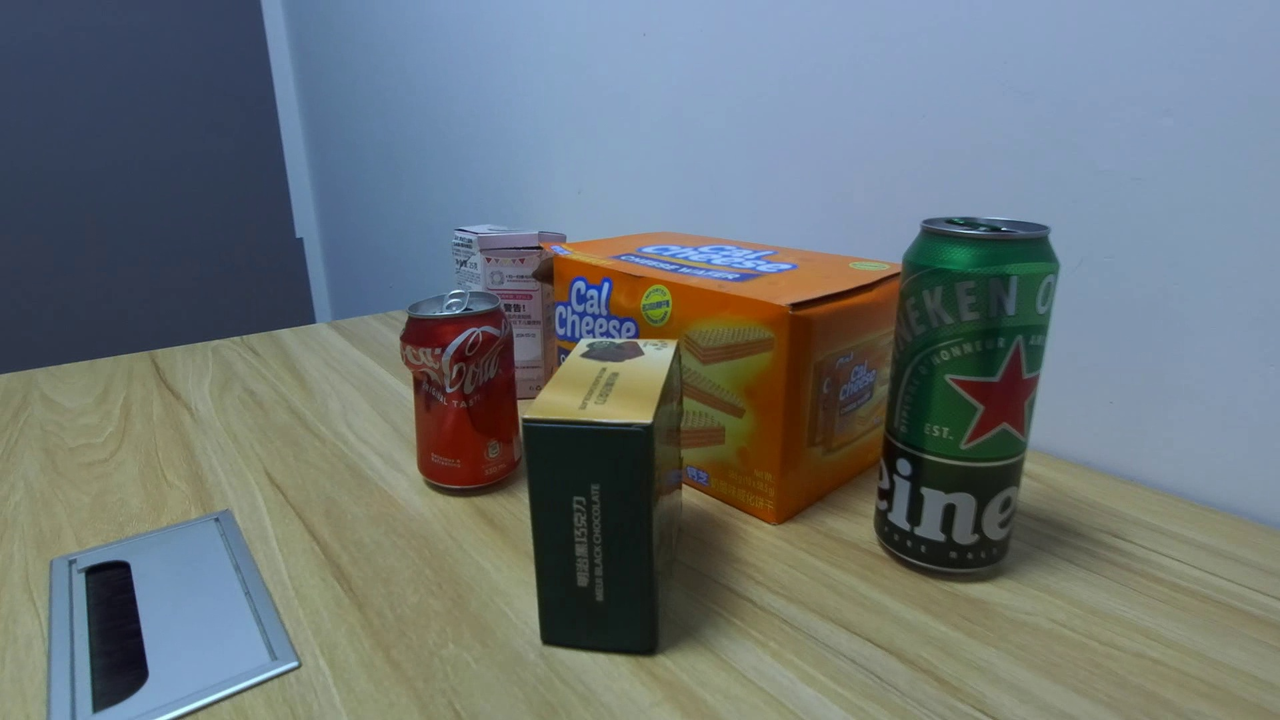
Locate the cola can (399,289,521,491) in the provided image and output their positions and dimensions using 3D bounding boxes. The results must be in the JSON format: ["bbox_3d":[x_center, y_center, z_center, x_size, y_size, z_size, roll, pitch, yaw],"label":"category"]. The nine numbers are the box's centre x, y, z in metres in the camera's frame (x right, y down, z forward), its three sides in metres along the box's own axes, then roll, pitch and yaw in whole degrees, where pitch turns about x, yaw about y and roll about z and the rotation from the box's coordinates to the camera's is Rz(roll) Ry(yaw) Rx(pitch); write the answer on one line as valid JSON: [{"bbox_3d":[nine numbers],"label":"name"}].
[{"bbox_3d":[-0.111,0.017,0.442,0.066,0.117,0.066,15,25,35],"label":"cola can"}]

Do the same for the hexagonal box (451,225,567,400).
[{"bbox_3d":[-0.103,-0.044,0.590,0.092,0.135,0.085,-2,18,-2],"label":"hexagonal box"}]

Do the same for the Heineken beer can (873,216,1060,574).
[{"bbox_3d":[0.157,0.019,0.347,0.067,0.169,0.067,0,17,0],"label":"Heineken beer can"}]

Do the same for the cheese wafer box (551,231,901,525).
[{"bbox_3d":[0.050,-0.010,0.490,0.150,0.137,0.226,-17,25,-41],"label":"cheese wafer box"}]

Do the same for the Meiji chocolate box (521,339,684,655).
[{"bbox_3d":[-0.012,0.059,0.359,0.056,0.109,0.110,3,22,10],"label":"Meiji chocolate box"}]
